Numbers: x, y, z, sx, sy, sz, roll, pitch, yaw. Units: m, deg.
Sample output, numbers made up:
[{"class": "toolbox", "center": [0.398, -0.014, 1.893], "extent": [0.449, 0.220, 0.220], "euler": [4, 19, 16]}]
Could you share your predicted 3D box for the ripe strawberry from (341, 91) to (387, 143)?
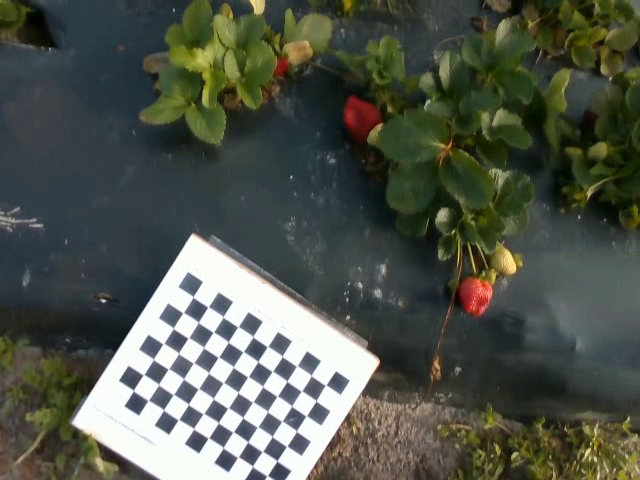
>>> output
[{"class": "ripe strawberry", "center": [0.050, -0.171, 1.081], "extent": [0.070, 0.058, 0.057], "euler": [44, -1, -33]}]

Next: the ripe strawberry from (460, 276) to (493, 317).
[{"class": "ripe strawberry", "center": [0.208, 0.075, 1.021], "extent": [0.047, 0.050, 0.034], "euler": [13, -2, -7]}]
